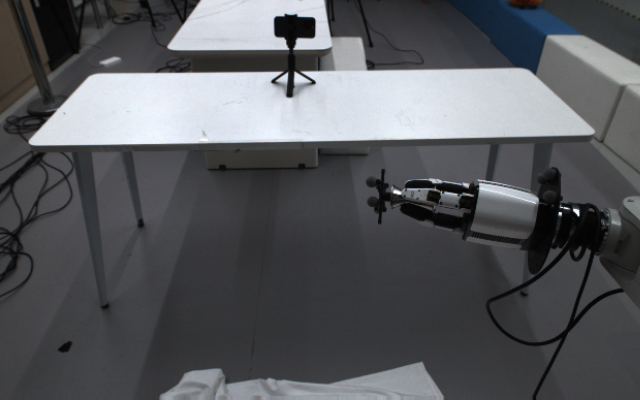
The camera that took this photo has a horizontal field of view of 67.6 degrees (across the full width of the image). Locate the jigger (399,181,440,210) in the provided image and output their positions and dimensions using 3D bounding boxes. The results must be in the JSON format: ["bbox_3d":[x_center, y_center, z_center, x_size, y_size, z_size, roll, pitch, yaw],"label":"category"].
[{"bbox_3d":[0.155,-0.008,0.763,0.071,0.043,0.043,2,34,17],"label":"jigger"}]
